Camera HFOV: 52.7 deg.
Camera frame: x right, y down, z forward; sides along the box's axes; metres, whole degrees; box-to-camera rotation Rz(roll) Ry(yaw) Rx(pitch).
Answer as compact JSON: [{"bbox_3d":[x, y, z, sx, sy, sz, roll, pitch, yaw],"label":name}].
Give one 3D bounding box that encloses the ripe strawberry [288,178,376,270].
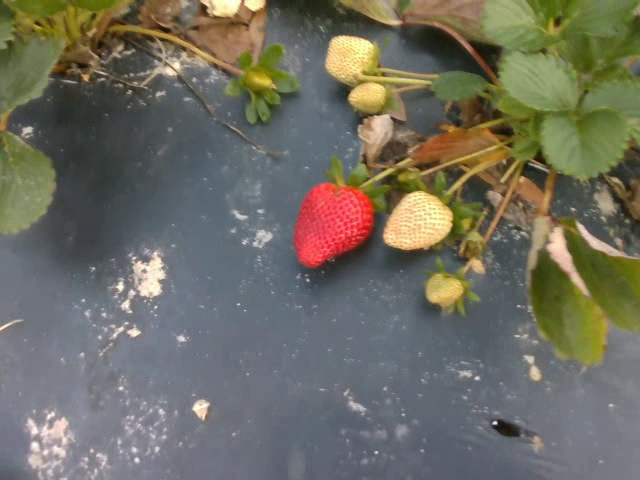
[{"bbox_3d":[0.005,-0.008,0.340,0.050,0.059,0.033,20,-36,9],"label":"ripe strawberry"}]
